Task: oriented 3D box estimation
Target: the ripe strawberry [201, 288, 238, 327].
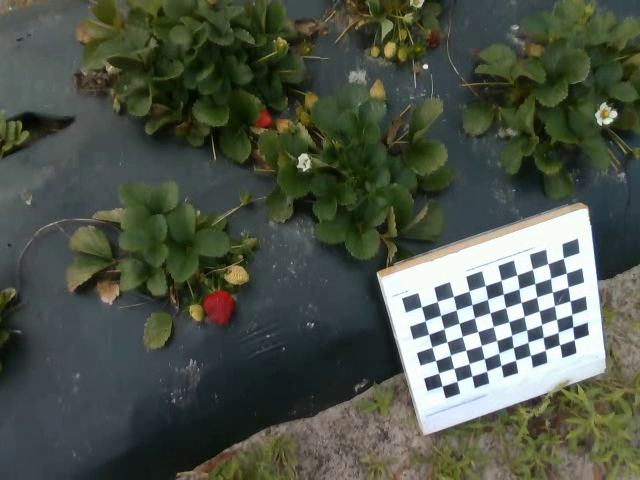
[{"bbox_3d":[-0.138,0.099,0.797,0.047,0.046,0.059,-23,44,1],"label":"ripe strawberry"}]
